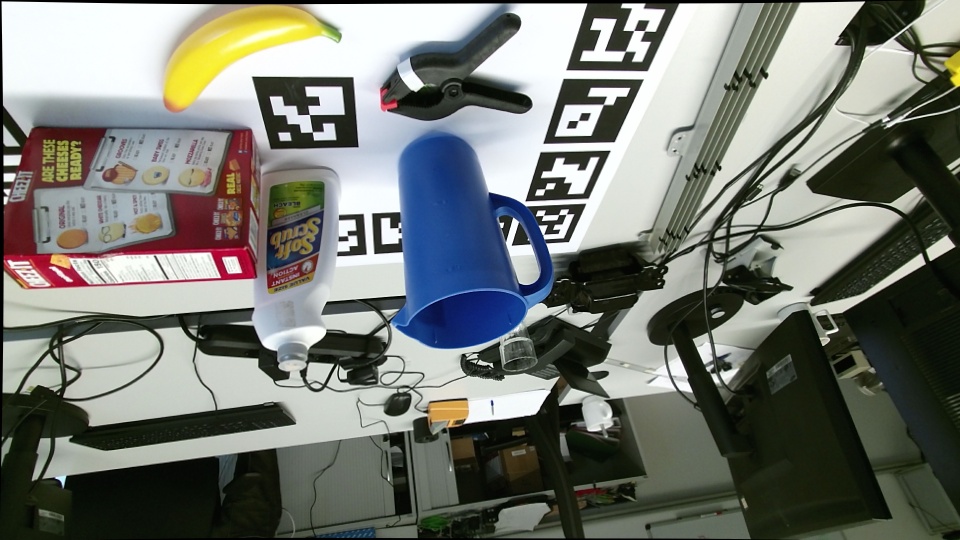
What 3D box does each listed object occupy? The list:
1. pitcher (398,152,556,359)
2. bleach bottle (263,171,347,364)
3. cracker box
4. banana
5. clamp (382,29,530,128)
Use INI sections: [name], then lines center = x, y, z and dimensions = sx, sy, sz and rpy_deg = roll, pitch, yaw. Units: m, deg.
[pitcher]
center = -0.017, -0.025, 0.650
dimensions = 0.189, 0.241, 0.133
rpy_deg = -12, 149, 5
[bleach bottle]
center = -0.209, -0.007, 0.653
dimensions = 0.103, 0.249, 0.068
rpy_deg = -4, 148, -12
[cracker box]
center = -0.355, -0.062, 0.573
dimensions = 0.214, 0.163, 0.072
rpy_deg = -4, 150, -15
[banana]
center = -0.243, -0.207, 0.541
dimensions = 0.198, 0.038, 0.074
rpy_deg = -22, 147, 17
[clamp]
center = -0.030, -0.200, 0.604
dimensions = 0.166, 0.036, 0.122
rpy_deg = -11, 149, 3
